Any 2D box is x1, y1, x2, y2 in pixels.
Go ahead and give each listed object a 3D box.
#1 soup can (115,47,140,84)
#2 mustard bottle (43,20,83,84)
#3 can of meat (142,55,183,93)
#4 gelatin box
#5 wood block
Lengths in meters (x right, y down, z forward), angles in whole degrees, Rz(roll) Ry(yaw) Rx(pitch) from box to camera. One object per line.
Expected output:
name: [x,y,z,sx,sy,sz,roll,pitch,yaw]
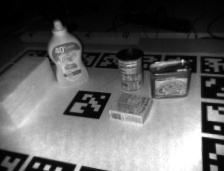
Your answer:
soup can: [0.042,-0.063,0.606,0.068,0.103,0.067,-6,40,6]
mustard bottle: [-0.149,-0.097,0.634,0.096,0.193,0.058,-12,38,-4]
can of meat: [0.130,-0.028,0.574,0.101,0.084,0.057,-3,39,4]
gelatin box: [0.034,0.043,0.540,0.088,0.030,0.073,10,44,26]
wood block: [-0.266,-0.003,0.613,0.090,0.090,0.206,6,37,17]
